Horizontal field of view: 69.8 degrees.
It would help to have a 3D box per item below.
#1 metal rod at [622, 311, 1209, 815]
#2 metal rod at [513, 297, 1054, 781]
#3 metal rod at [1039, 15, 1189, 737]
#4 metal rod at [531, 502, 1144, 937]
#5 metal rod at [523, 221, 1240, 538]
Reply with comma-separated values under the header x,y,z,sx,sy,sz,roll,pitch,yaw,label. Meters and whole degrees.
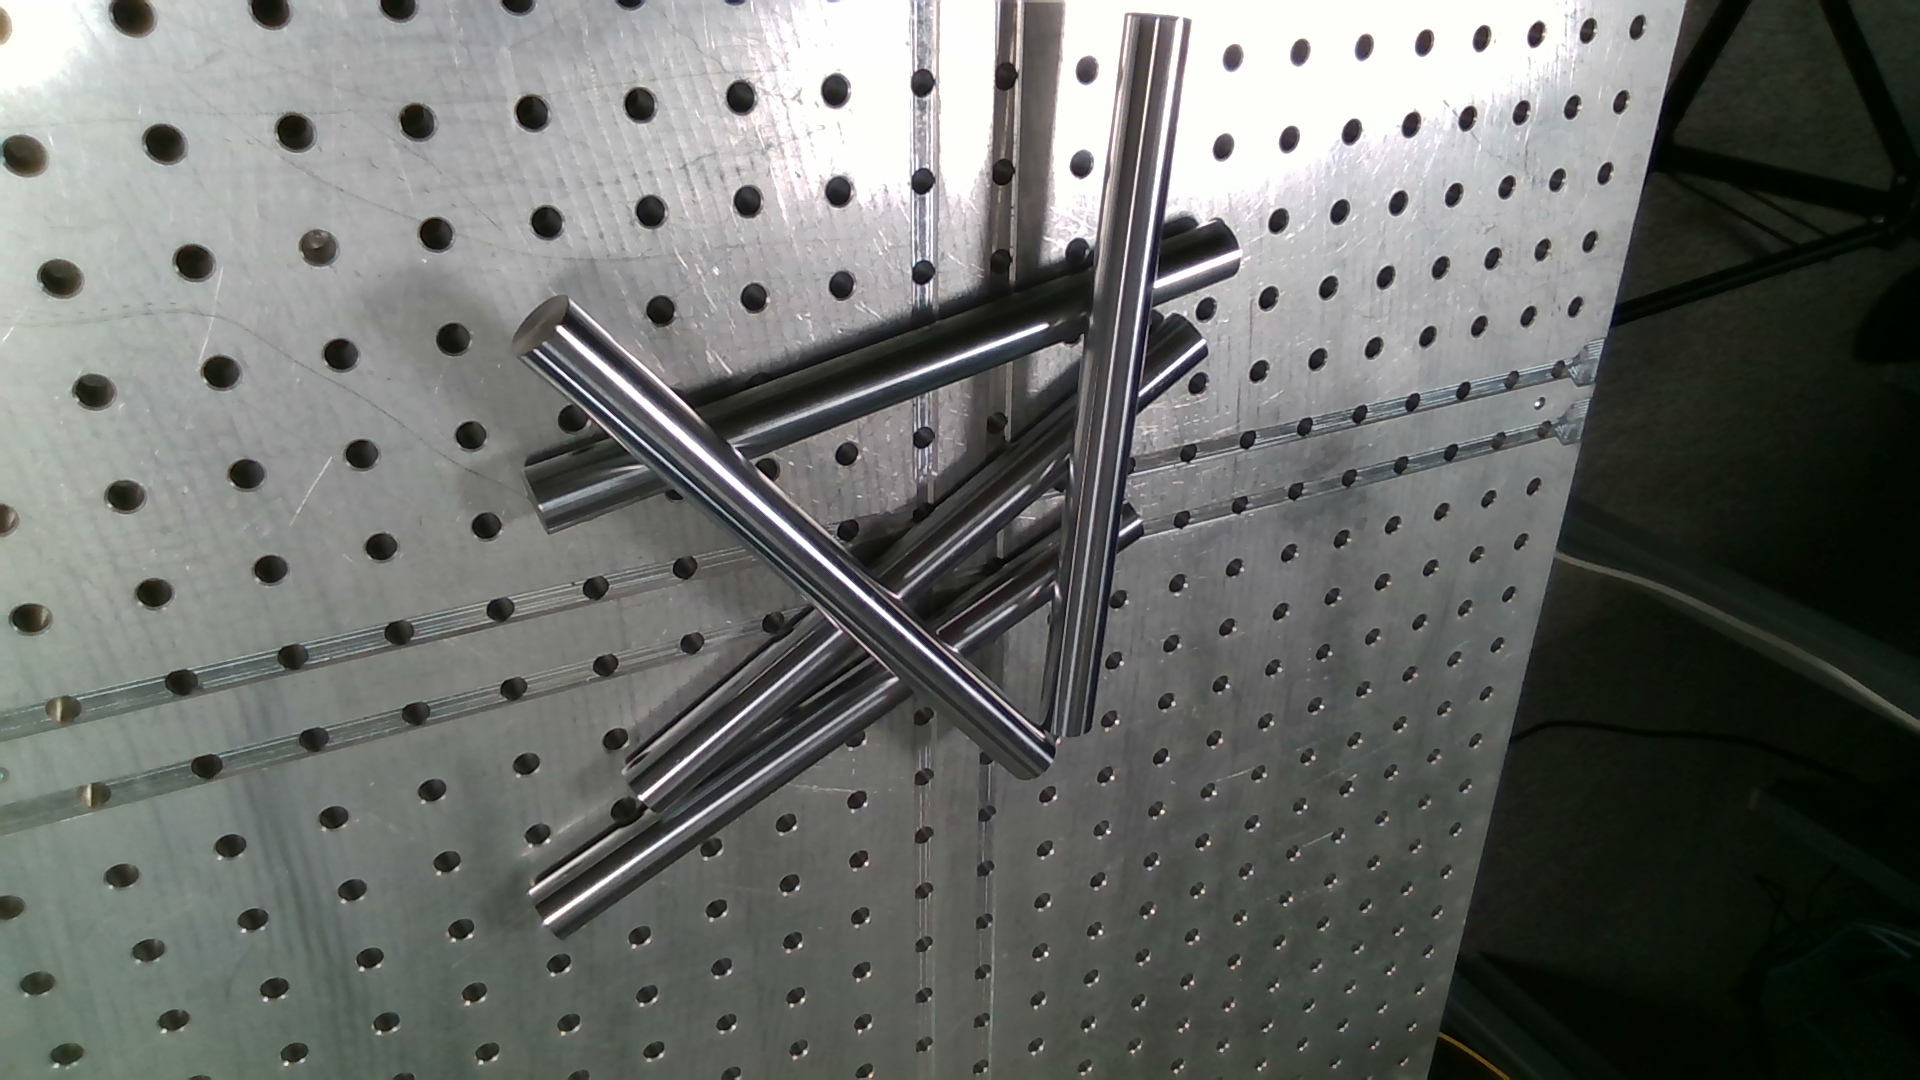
x,y,z,sx,sy,sz,roll,pitch,yaw,label
-0.015,0.007,0.577,0.300,0.025,0.025,-40,129,-7,metal rod
-0.050,0.016,0.529,0.025,0.025,0.301,-46,129,-2,metal rod
0.059,-0.052,0.559,0.025,0.025,0.301,-10,120,-27,metal rod
-0.046,0.070,0.593,0.300,0.025,0.025,-34,128,-12,metal rod
-0.019,-0.068,0.535,0.300,0.025,0.025,-23,125,-20,metal rod
